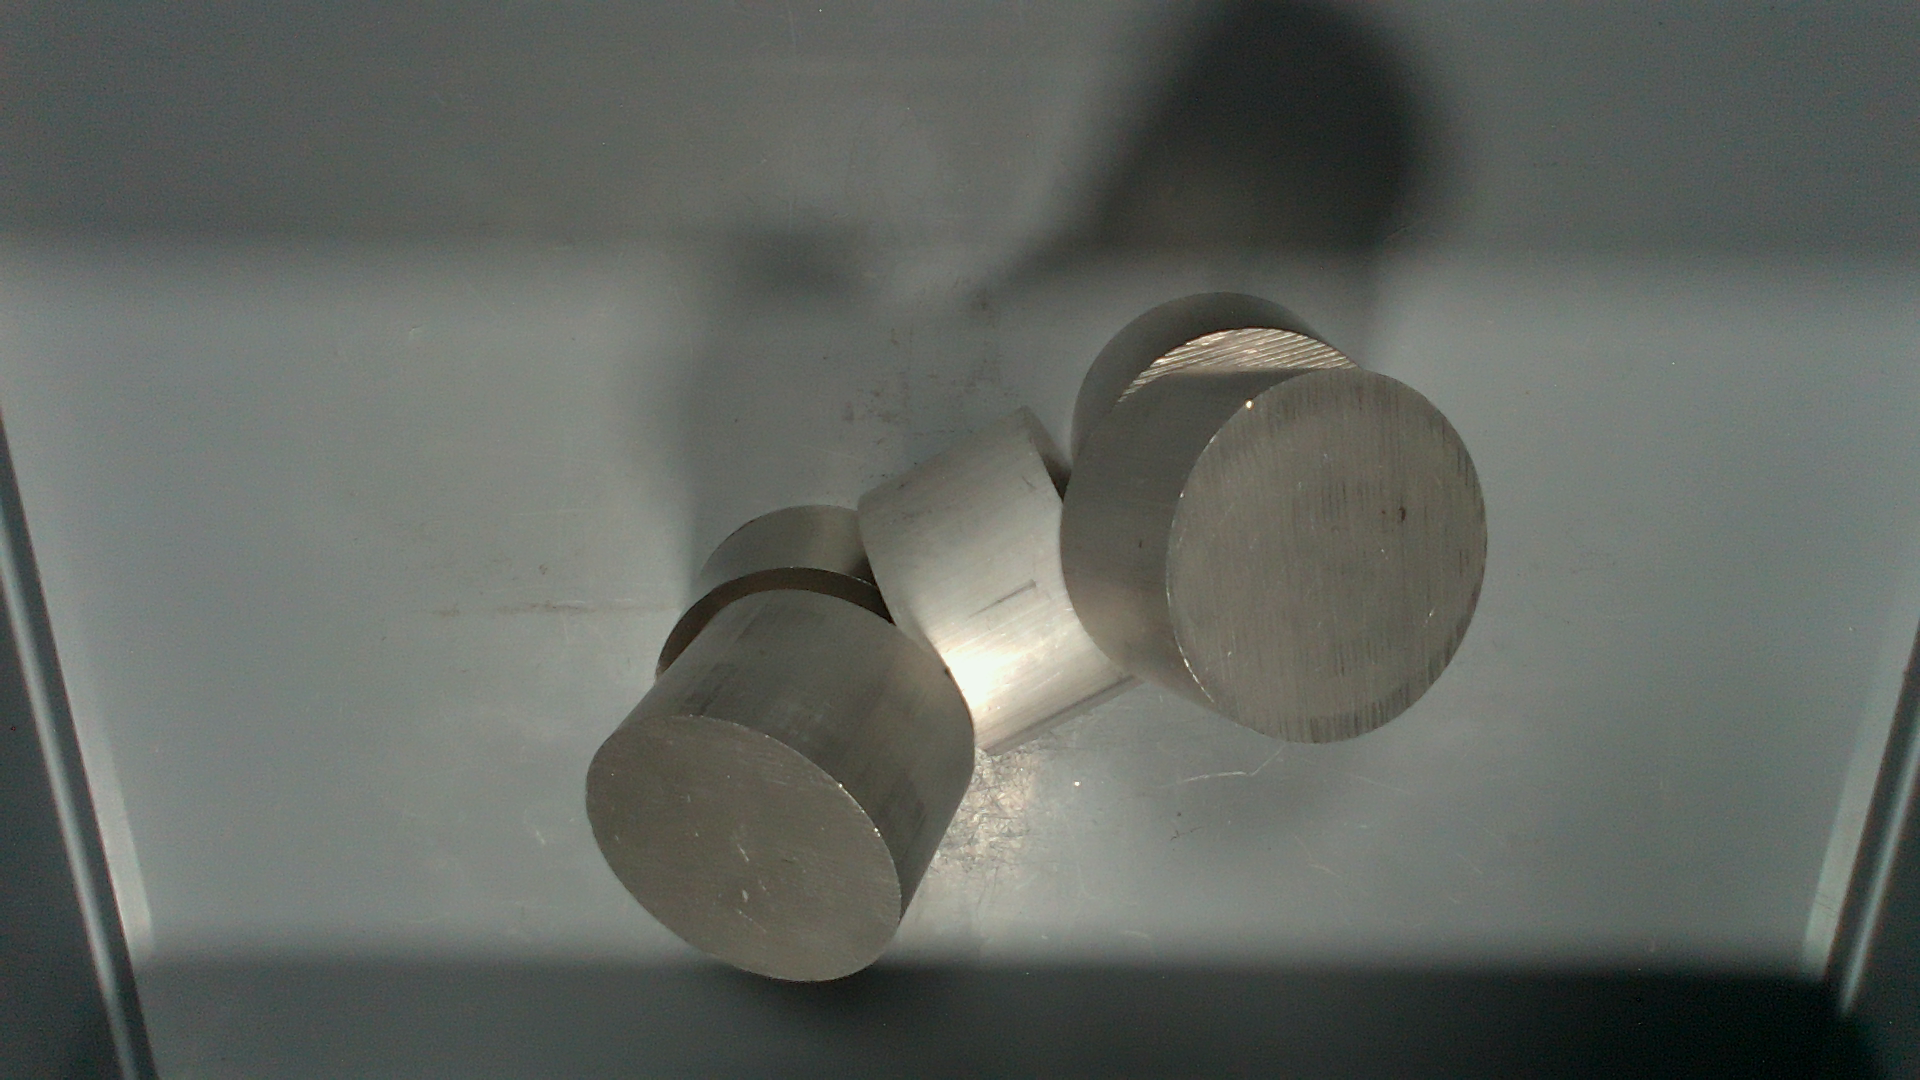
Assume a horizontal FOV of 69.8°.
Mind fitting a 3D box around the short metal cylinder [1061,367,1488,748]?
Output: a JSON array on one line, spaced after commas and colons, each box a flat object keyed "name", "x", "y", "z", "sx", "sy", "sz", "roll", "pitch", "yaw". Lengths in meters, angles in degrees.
[{"name": "short metal cylinder", "x": 0.070, "y": 0.001, "z": 0.311, "sx": 0.080, "sy": 0.050, "sz": 0.080, "roll": -3, "pitch": 98, "yaw": -21}]

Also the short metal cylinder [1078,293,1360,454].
[{"name": "short metal cylinder", "x": 0.072, "y": -0.023, "z": 0.371, "sx": 0.080, "sy": 0.050, "sz": 0.080, "roll": 0, "pitch": 110, "yaw": 0}]

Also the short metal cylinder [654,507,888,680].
[{"name": "short metal cylinder", "x": -0.042, "y": 0.036, "z": 0.392, "sx": 0.080, "sy": 0.050, "sz": 0.080, "roll": 0, "pitch": 110, "yaw": 0}]

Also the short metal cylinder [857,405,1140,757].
[{"name": "short metal cylinder", "x": 0.015, "y": 0.011, "z": 0.367, "sx": 0.050, "sy": 0.080, "sz": 0.080, "roll": -28, "pitch": 108, "yaw": 10}]

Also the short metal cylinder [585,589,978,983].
[{"name": "short metal cylinder", "x": -0.042, "y": 0.059, "z": 0.332, "sx": 0.080, "sy": 0.050, "sz": 0.080, "roll": 11, "pitch": 125, "yaw": 16}]
